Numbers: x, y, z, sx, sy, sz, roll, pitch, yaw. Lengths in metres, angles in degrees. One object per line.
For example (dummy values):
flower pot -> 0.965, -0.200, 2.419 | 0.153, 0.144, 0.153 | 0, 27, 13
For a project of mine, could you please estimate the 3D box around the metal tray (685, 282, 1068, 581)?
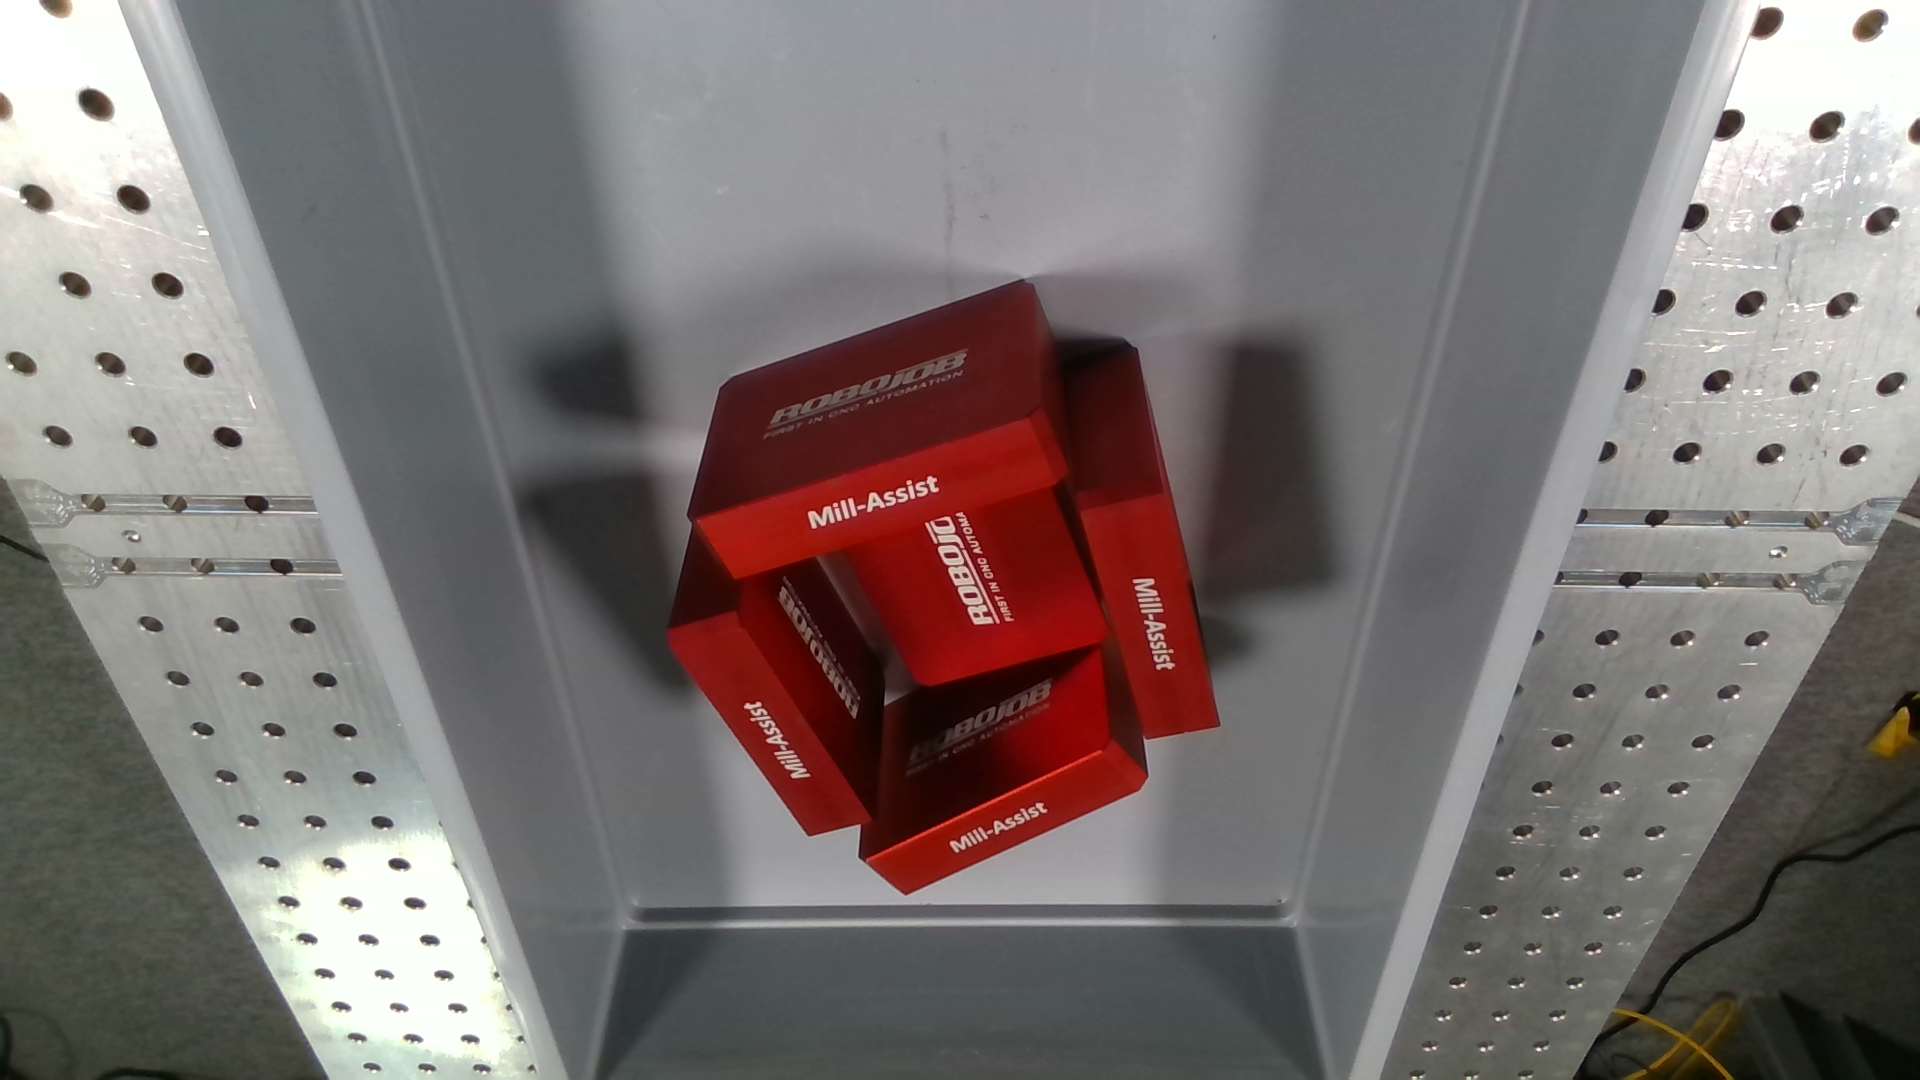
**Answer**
metal tray -> -0.029, -0.041, 0.500 | 0.130, 0.090, 0.030 | -17, 128, 13

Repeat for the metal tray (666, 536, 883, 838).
metal tray -> -0.072, 0.050, 0.577 | 0.030, 0.090, 0.130 | -16, 128, 13

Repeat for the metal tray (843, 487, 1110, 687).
metal tray -> 0.001, -0.001, 0.572 | 0.090, 0.030, 0.130 | -16, 128, 13

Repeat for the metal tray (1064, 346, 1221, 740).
metal tray -> 0.071, 0.003, 0.537 | 0.030, 0.090, 0.130 | -12, 129, 10

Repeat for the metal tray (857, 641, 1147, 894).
metal tray -> 0.016, 0.092, 0.613 | 0.130, 0.090, 0.030 | -29, 123, 22
